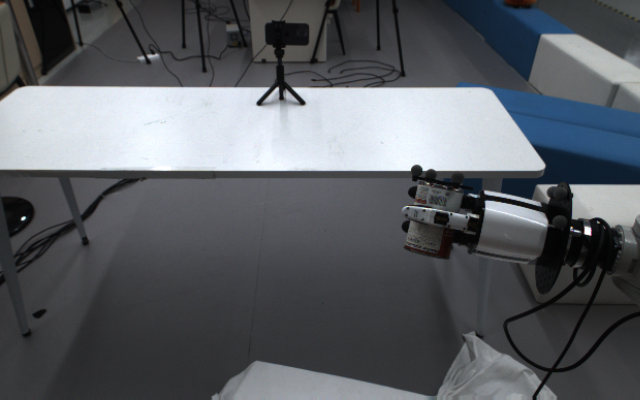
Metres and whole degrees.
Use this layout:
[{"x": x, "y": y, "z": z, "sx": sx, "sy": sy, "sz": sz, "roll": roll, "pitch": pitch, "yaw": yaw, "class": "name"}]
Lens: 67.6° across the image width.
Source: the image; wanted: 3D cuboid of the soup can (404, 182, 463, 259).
[{"x": 0.168, "y": 0.029, "z": 0.710, "sx": 0.067, "sy": 0.101, "sz": 0.067, "roll": 12, "pitch": 2, "yaw": 0, "class": "soup can"}]
